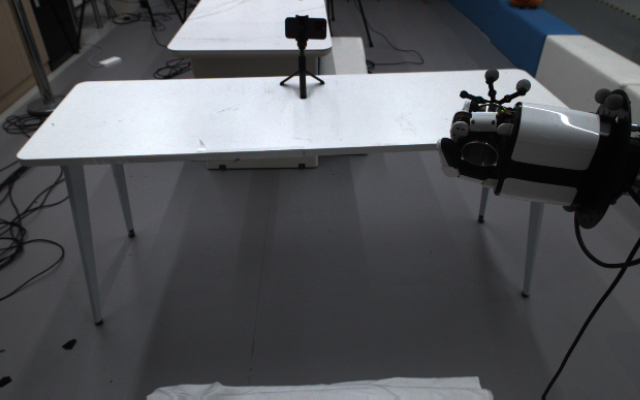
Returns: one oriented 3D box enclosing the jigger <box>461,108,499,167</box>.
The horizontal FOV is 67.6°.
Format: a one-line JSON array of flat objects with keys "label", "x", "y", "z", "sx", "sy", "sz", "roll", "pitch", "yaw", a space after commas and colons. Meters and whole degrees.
[{"label": "jigger", "x": 0.202, "y": -0.084, "z": 0.588, "sx": 0.043, "sy": 0.043, "sz": 0.071, "roll": 16, "pitch": 59, "yaw": 19}]
